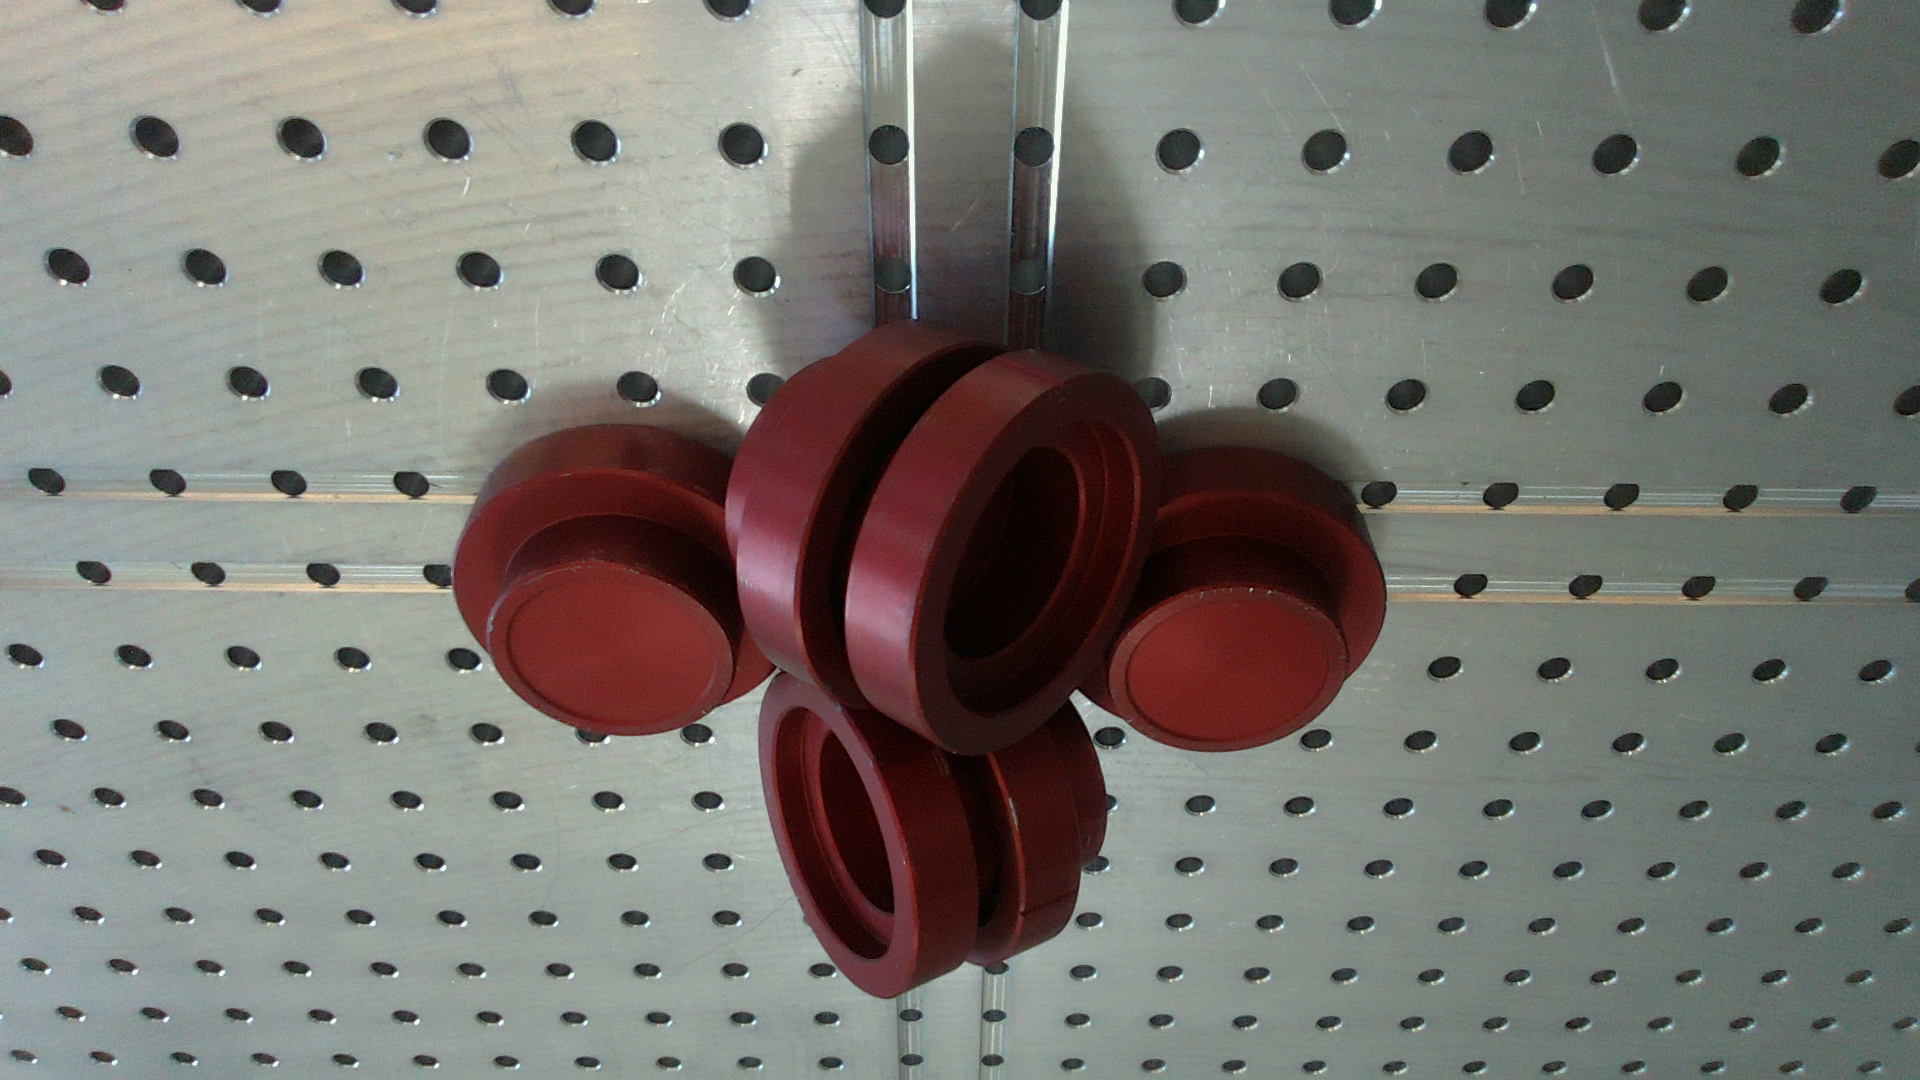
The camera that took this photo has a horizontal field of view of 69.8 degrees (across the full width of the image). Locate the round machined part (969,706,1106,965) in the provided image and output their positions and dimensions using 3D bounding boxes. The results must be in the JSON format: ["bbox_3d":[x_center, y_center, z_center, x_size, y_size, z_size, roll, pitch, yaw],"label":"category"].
[{"bbox_3d":[0.008,0.075,0.421,0.042,0.098,0.098,-15,137,-30],"label":"round machined part"}]

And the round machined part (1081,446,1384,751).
[{"bbox_3d":[0.075,0.024,0.403,0.098,0.042,0.098,0,130,0],"label":"round machined part"}]

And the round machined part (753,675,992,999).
[{"bbox_3d":[-0.022,0.080,0.407,0.042,0.098,0.098,-15,137,-29],"label":"round machined part"}]

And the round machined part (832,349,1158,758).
[{"bbox_3d":[0.004,0.000,0.337,0.042,0.098,0.098,25,140,33],"label":"round machined part"}]

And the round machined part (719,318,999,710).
[{"bbox_3d":[-0.022,-0.009,0.353,0.042,0.098,0.098,25,140,33],"label":"round machined part"}]

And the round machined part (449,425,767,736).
[{"bbox_3d":[-0.097,0.019,0.397,0.098,0.042,0.098,0,130,0],"label":"round machined part"}]
